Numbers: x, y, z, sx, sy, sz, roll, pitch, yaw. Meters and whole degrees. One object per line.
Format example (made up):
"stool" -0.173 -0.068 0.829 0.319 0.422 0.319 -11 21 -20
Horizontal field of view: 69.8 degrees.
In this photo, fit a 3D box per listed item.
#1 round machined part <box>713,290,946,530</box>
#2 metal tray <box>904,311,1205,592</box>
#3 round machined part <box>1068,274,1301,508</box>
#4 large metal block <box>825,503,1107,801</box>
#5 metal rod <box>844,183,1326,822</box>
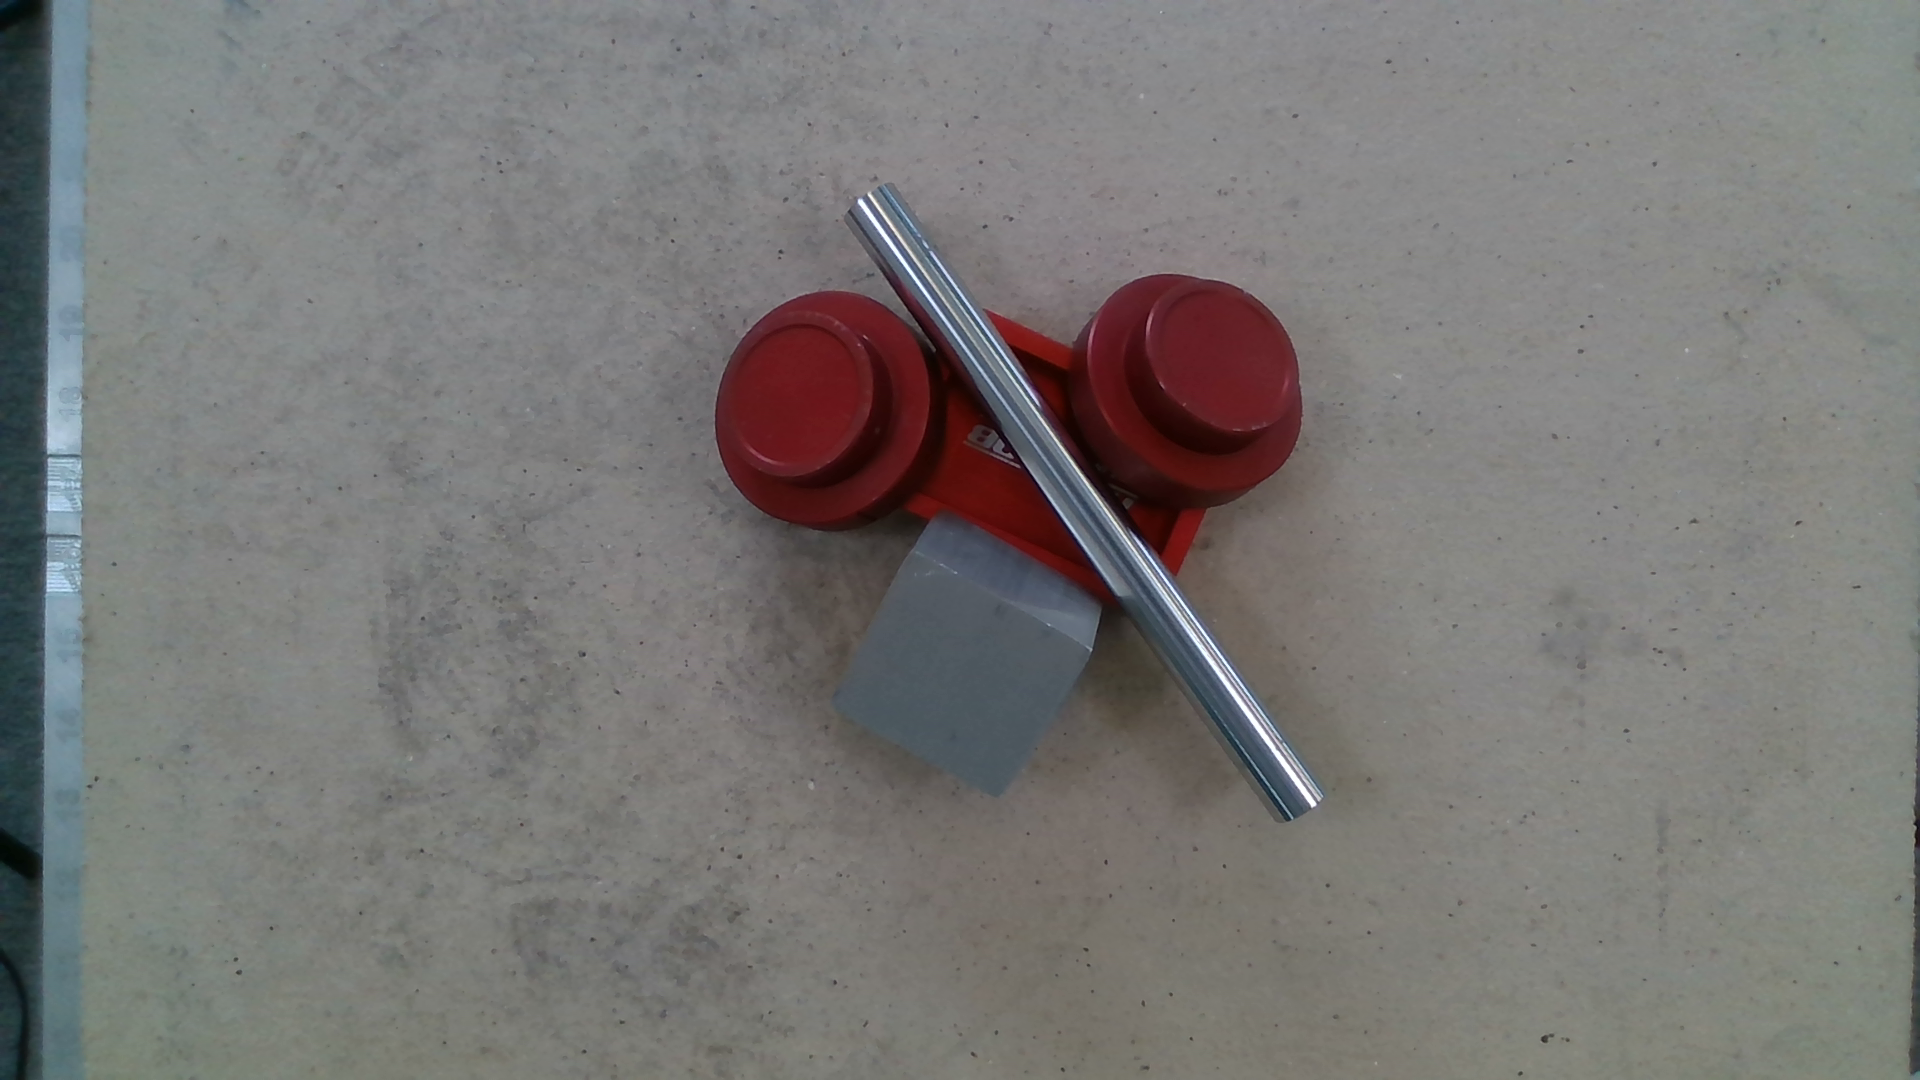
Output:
"round machined part" -0.059 -0.054 0.561 0.098 0.042 0.098 -3 82 20
"metal tray" 0.040 -0.033 0.585 0.130 0.030 0.090 24 90 0
"round machined part" 0.096 -0.066 0.558 0.098 0.042 0.098 7 67 -18
"large metal block" 0.003 0.045 0.561 0.080 0.050 0.080 29 115 -1
"metal rod" 0.051 -0.015 0.558 0.025 0.025 0.300 -36 91 0
